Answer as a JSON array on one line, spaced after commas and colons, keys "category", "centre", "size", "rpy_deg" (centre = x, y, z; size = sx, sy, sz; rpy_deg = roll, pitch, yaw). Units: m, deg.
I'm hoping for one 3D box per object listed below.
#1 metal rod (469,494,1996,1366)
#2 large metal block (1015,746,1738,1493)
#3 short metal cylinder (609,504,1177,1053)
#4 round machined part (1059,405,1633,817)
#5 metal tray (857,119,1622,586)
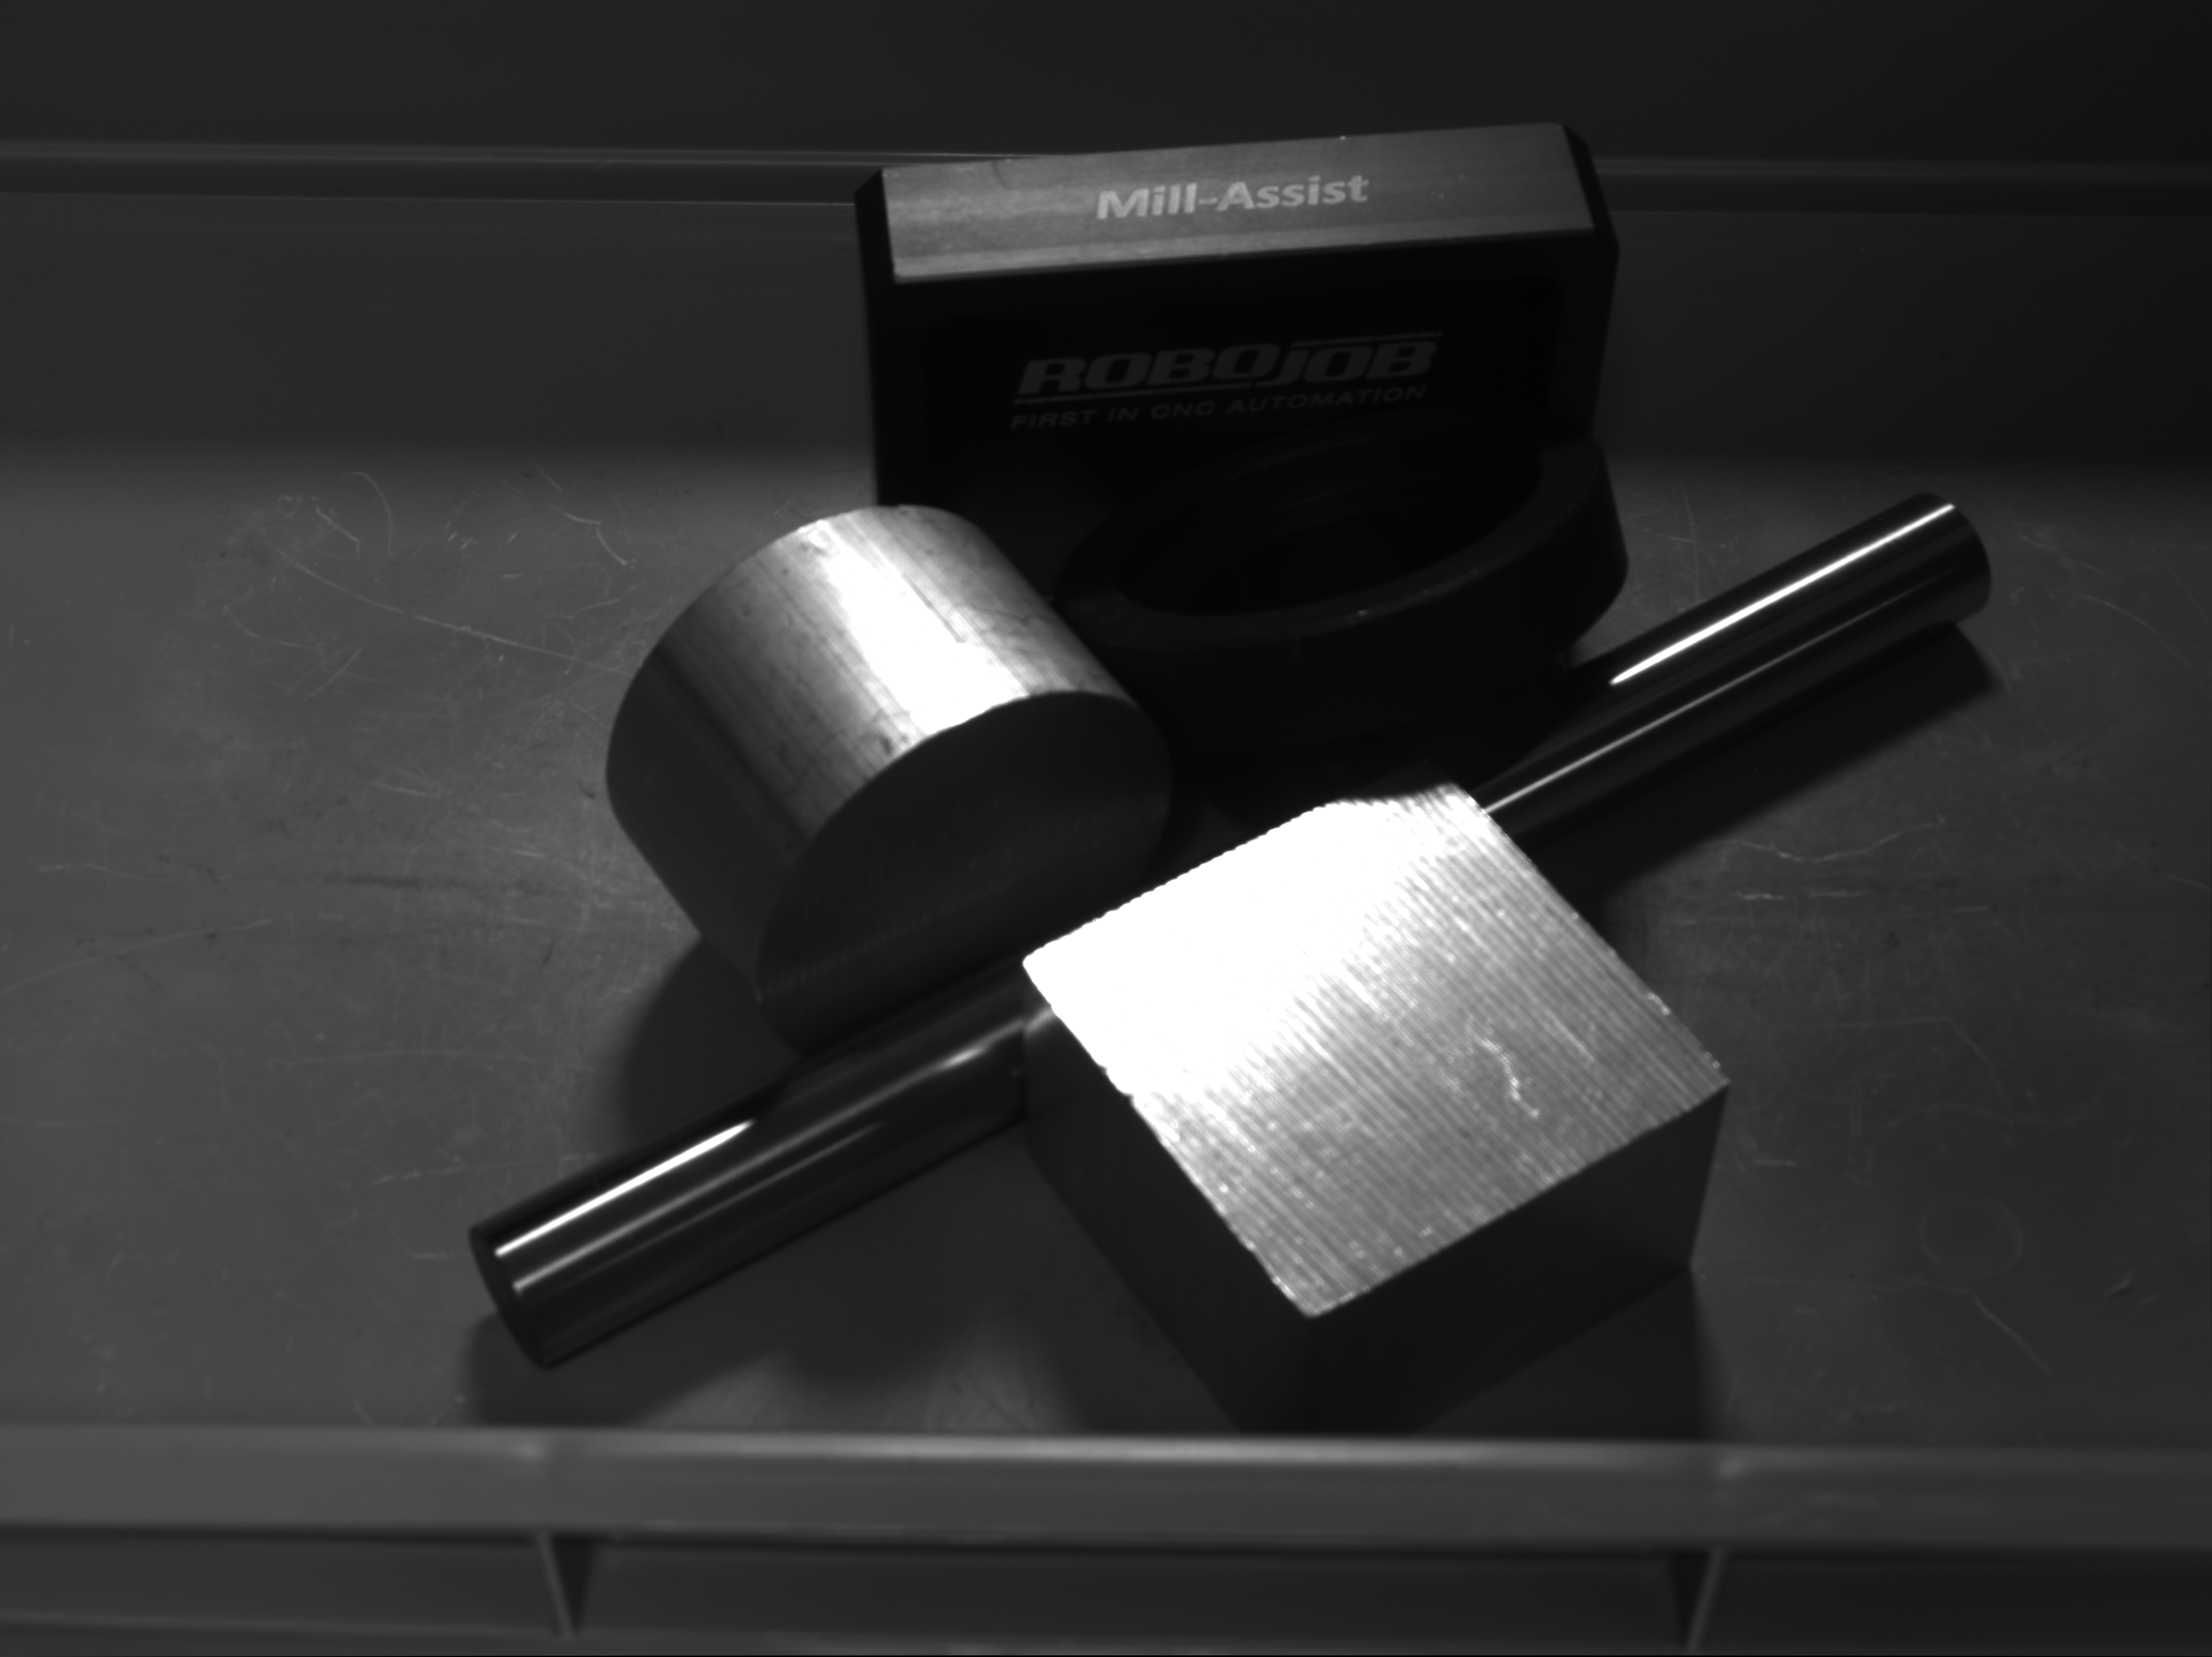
[{"category": "metal rod", "centre": [0.031, 0.011, 0.631], "size": [0.300, 0.025, 0.025], "rpy_deg": [-26, 55, -21]}, {"category": "large metal block", "centre": [0.041, 0.045, 0.585], "size": [0.080, 0.050, 0.080], "rpy_deg": [-26, 55, -20]}, {"category": "short metal cylinder", "centre": [-0.035, -0.007, 0.611], "size": [0.080, 0.080, 0.050], "rpy_deg": [-27, 55, -21]}, {"category": "round machined part", "centre": [0.044, -0.036, 0.642], "size": [0.098, 0.042, 0.098], "rpy_deg": [-13, 24, 6]}, {"category": "metal tray", "centre": [0.023, -0.080, 0.664], "size": [0.130, 0.090, 0.030], "rpy_deg": [-5, 50, -5]}]
